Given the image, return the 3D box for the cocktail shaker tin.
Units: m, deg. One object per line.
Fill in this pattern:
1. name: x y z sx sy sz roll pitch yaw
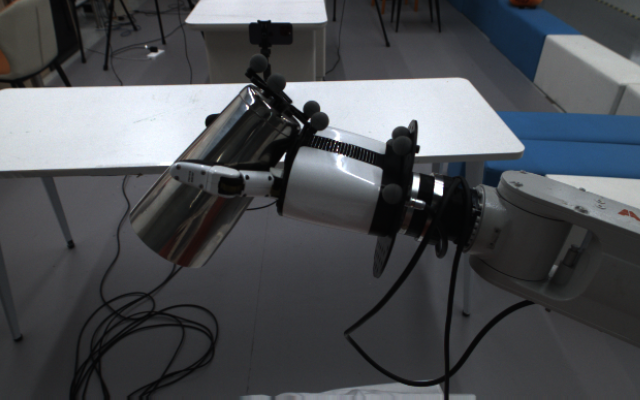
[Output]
1. cocktail shaker tin: -0.096 -0.028 0.477 0.093 0.170 0.093 41 12 -11
